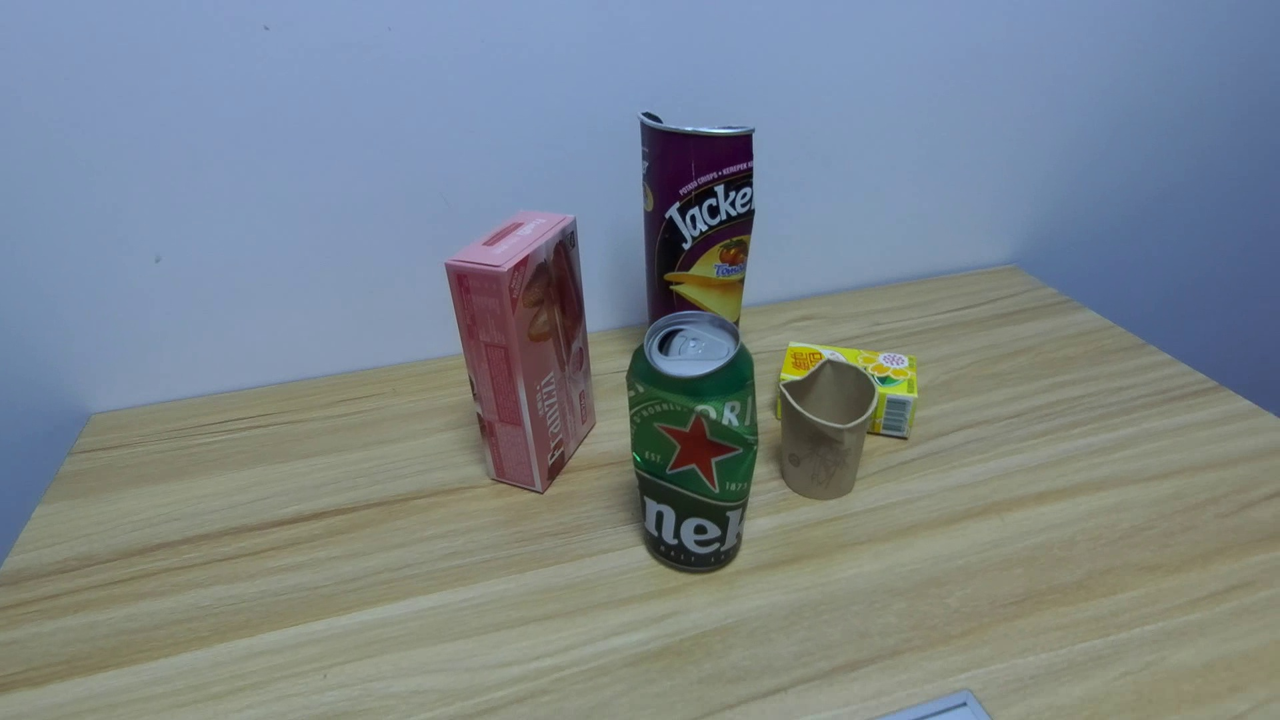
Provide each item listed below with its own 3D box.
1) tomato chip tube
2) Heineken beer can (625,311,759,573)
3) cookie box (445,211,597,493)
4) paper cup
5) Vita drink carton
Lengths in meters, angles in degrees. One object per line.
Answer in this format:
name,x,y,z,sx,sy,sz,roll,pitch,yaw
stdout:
tomato chip tube,0.045,-0.078,0.580,0.076,0.235,0.077,-8,32,-11
Heineken beer can,0.033,0.056,0.435,0.069,0.168,0.068,-12,36,-11
cookie box,-0.079,-0.003,0.519,0.048,0.185,0.096,9,34,21
paper cup,0.136,0.054,0.509,0.072,0.084,0.066,-23,38,-32
Vita drink carton,0.173,0.024,0.594,0.108,0.043,0.066,8,32,17
